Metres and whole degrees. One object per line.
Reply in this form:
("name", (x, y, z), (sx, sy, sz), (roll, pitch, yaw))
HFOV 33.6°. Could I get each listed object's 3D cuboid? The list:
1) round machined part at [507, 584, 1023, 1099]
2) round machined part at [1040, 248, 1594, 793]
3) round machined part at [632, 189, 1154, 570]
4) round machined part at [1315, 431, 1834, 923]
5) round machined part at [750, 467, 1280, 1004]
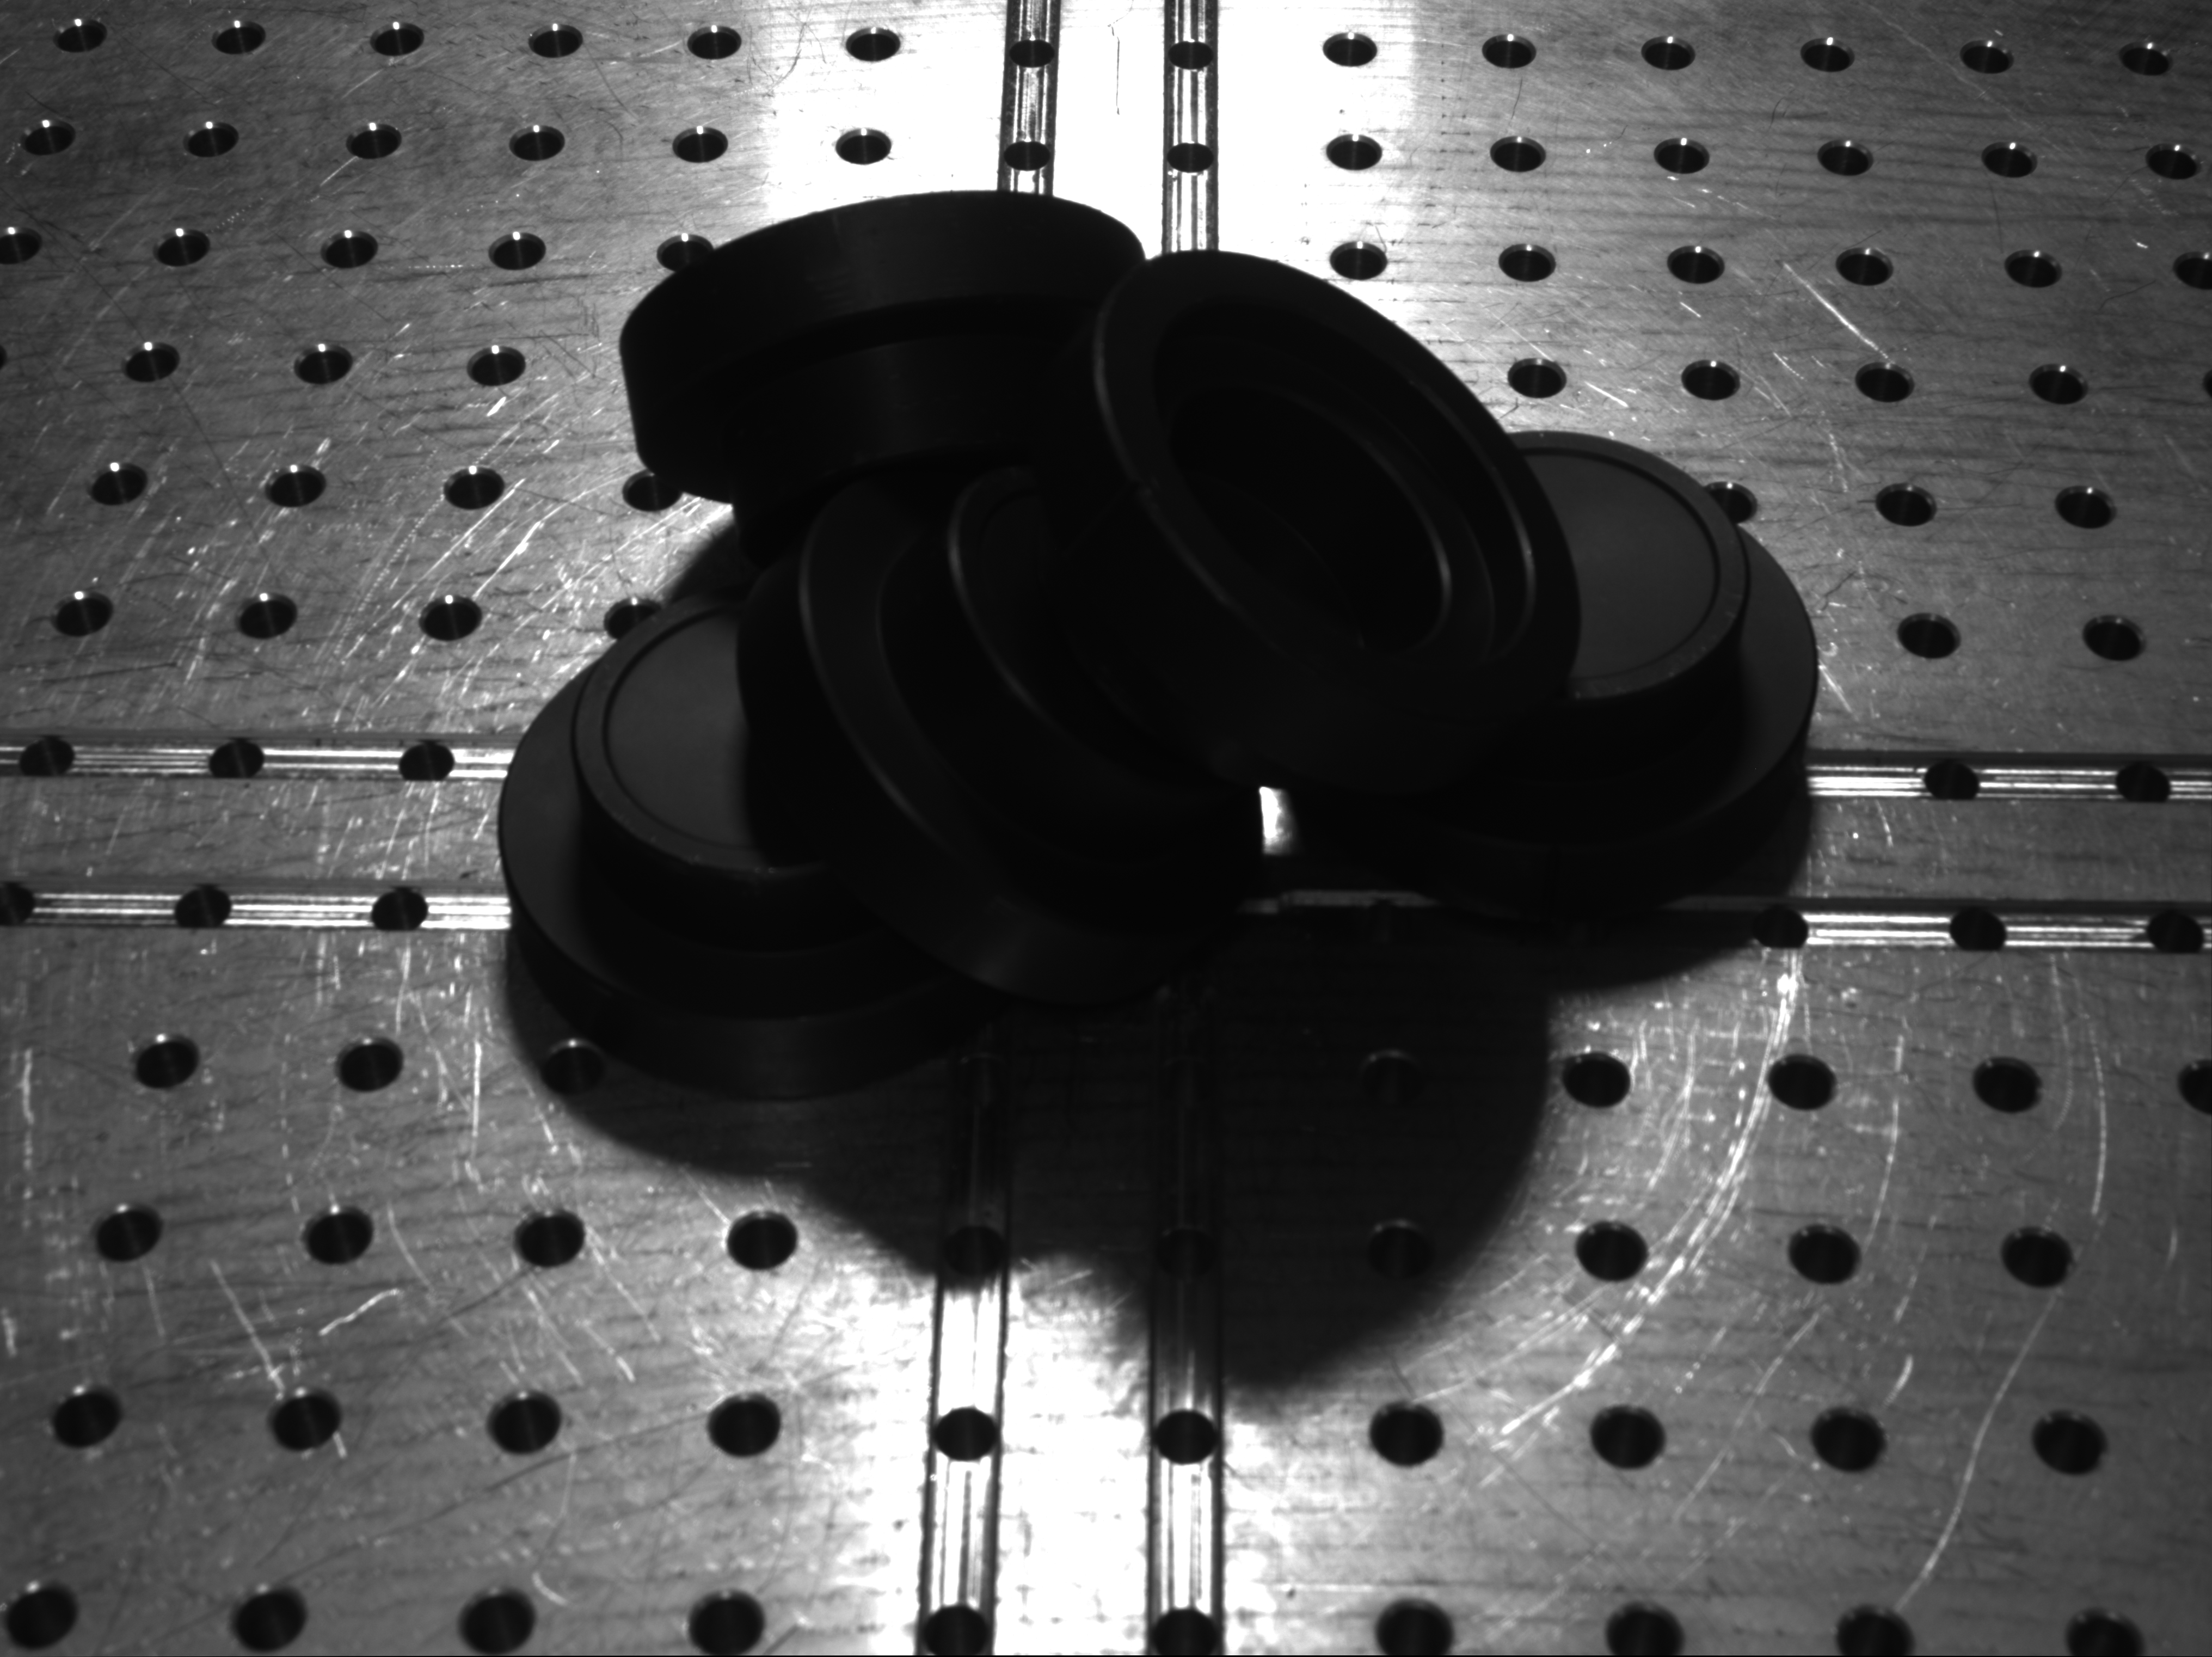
("round machined part", (-0.055, -0.004, 0.638), (0.098, 0.042, 0.098), (0, 50, 0))
("round machined part", (0.030, -0.046, 0.610), (0.098, 0.042, 0.098), (23, 43, -24))
("round machined part", (-0.035, -0.076, 0.668), (0.098, 0.098, 0.042), (-10, 76, -8))
("round machined part", (0.082, -0.034, 0.662), (0.098, 0.042, 0.098), (0, 50, 0))
("round machined part", (-0.008, -0.022, 0.622), (0.098, 0.042, 0.098), (28, 40, -25))
